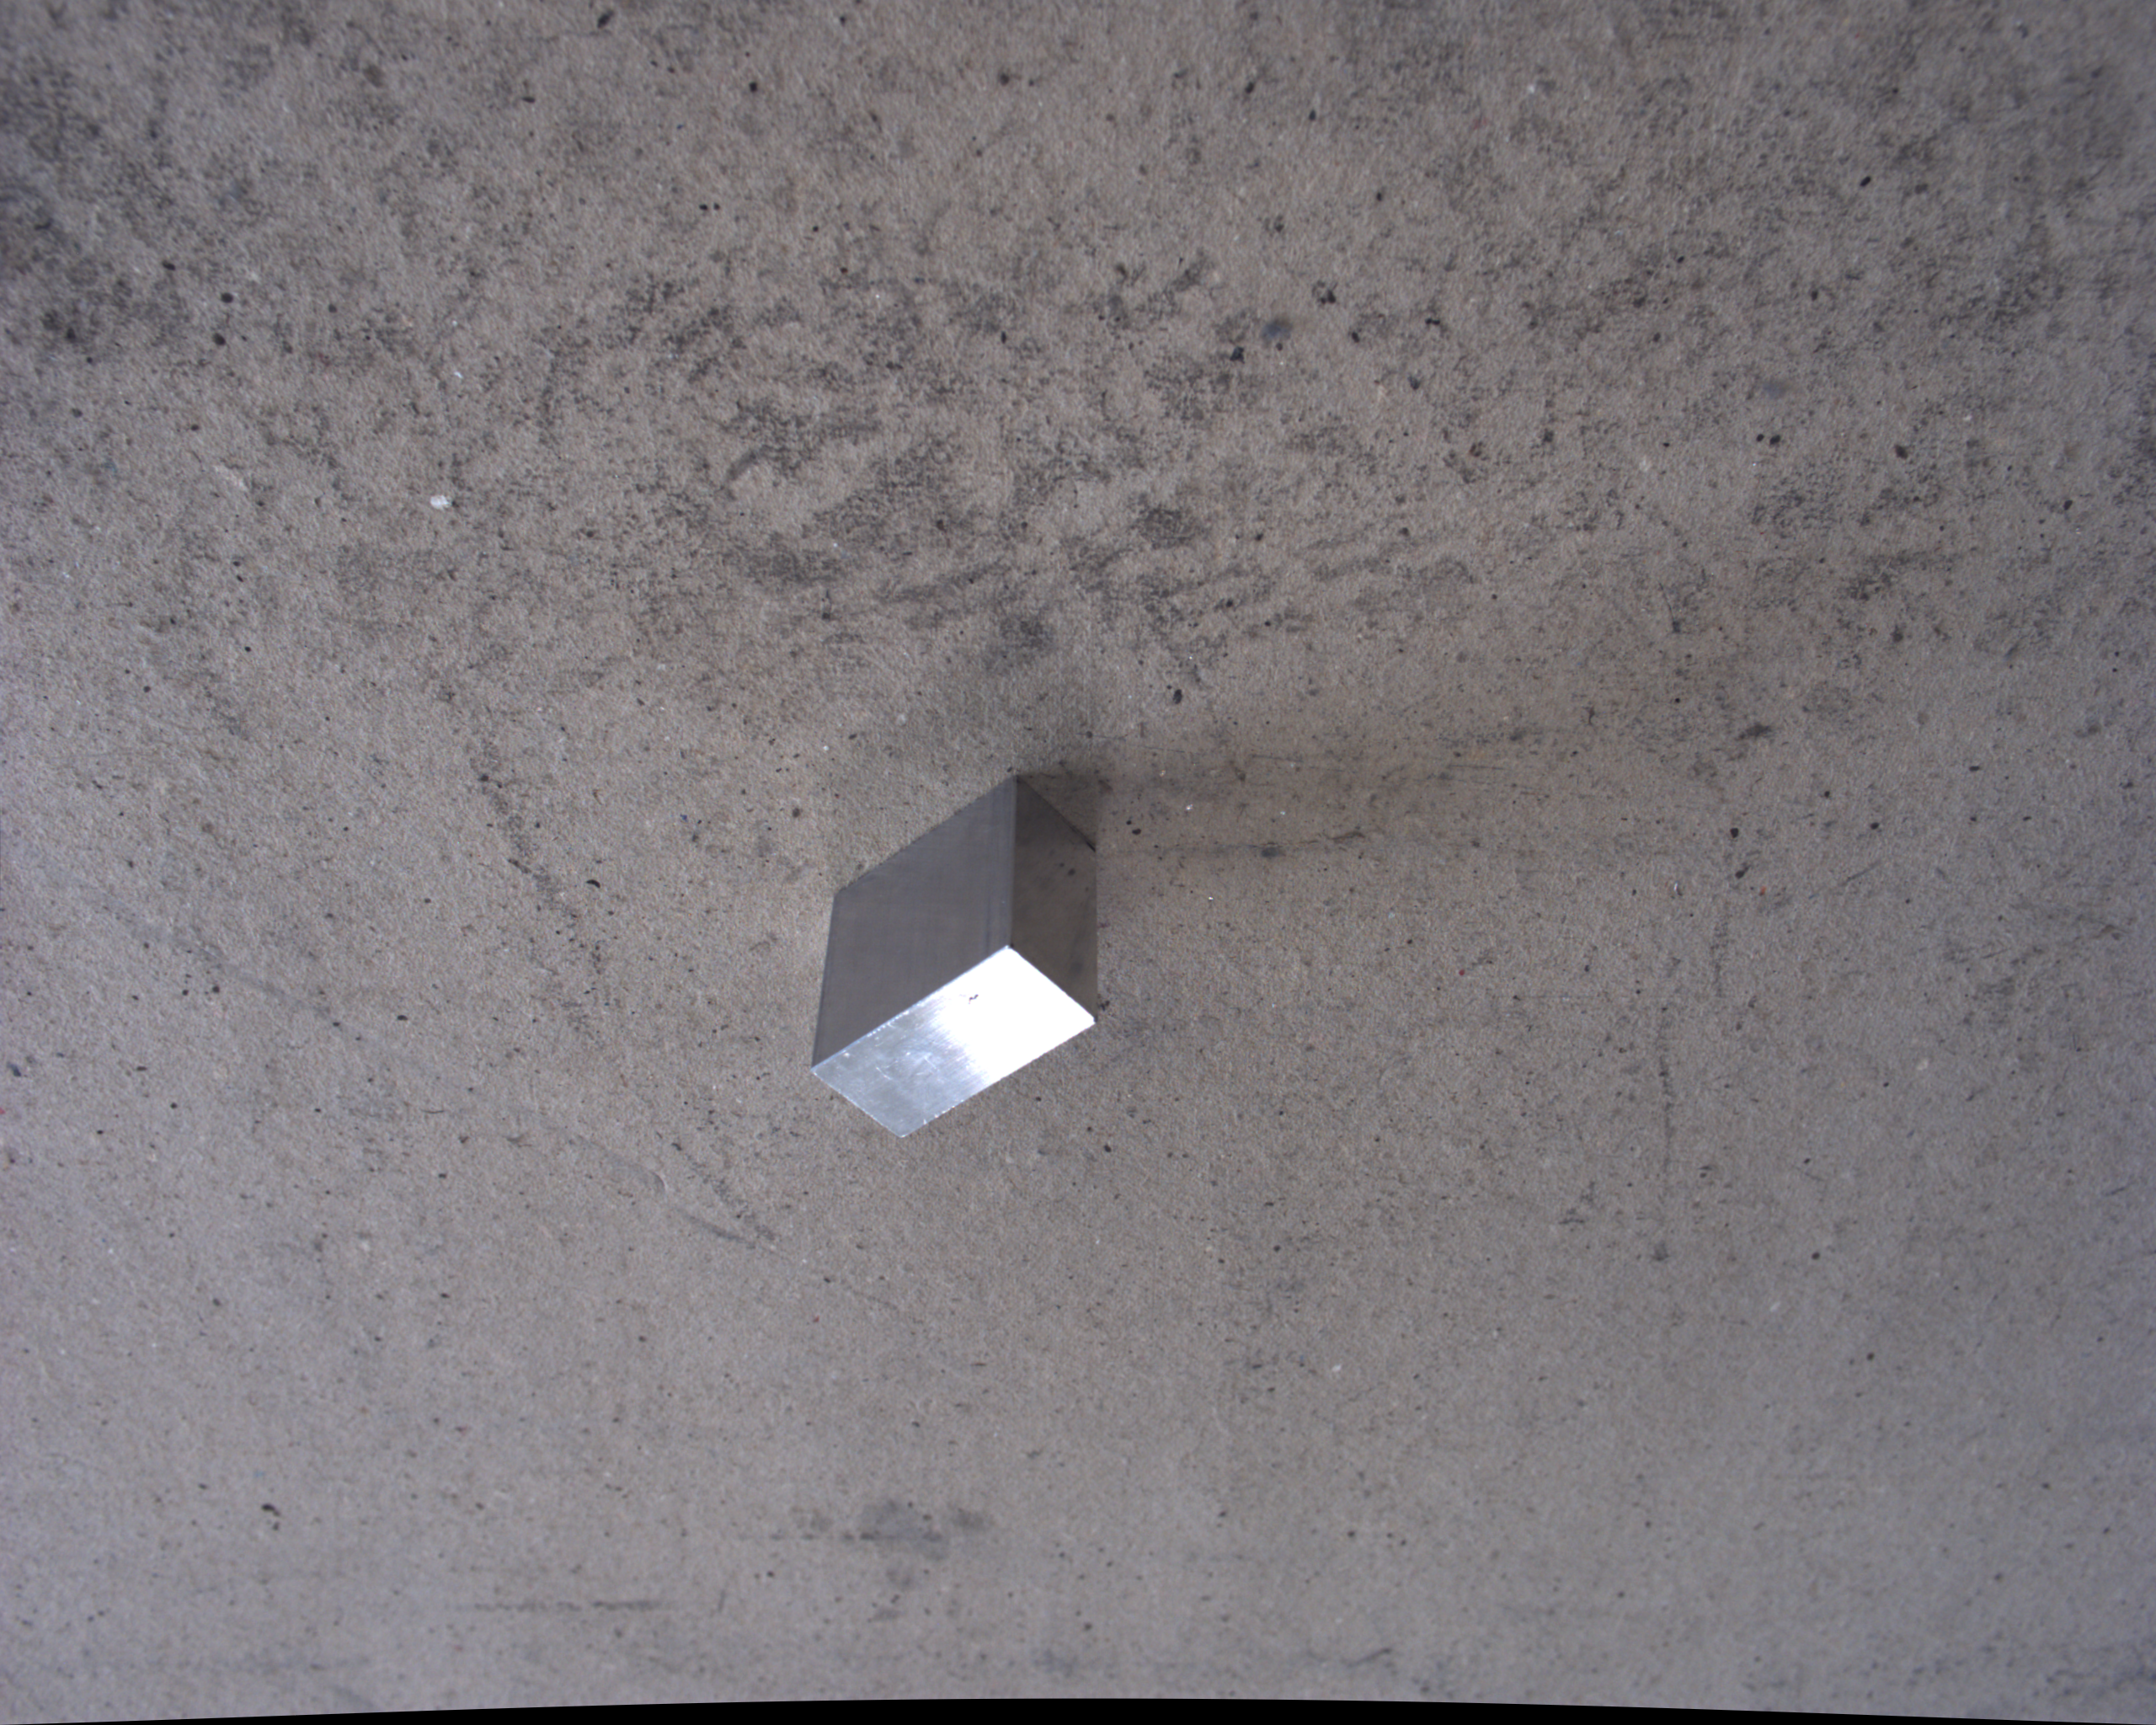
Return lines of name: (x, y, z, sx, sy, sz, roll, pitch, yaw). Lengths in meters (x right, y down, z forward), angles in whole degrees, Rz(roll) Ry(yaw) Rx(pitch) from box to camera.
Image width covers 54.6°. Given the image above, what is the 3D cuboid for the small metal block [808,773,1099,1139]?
small metal block: (-0.023, 0.018, 0.407, 0.050, 0.050, 0.025, -33, 123, 24)
